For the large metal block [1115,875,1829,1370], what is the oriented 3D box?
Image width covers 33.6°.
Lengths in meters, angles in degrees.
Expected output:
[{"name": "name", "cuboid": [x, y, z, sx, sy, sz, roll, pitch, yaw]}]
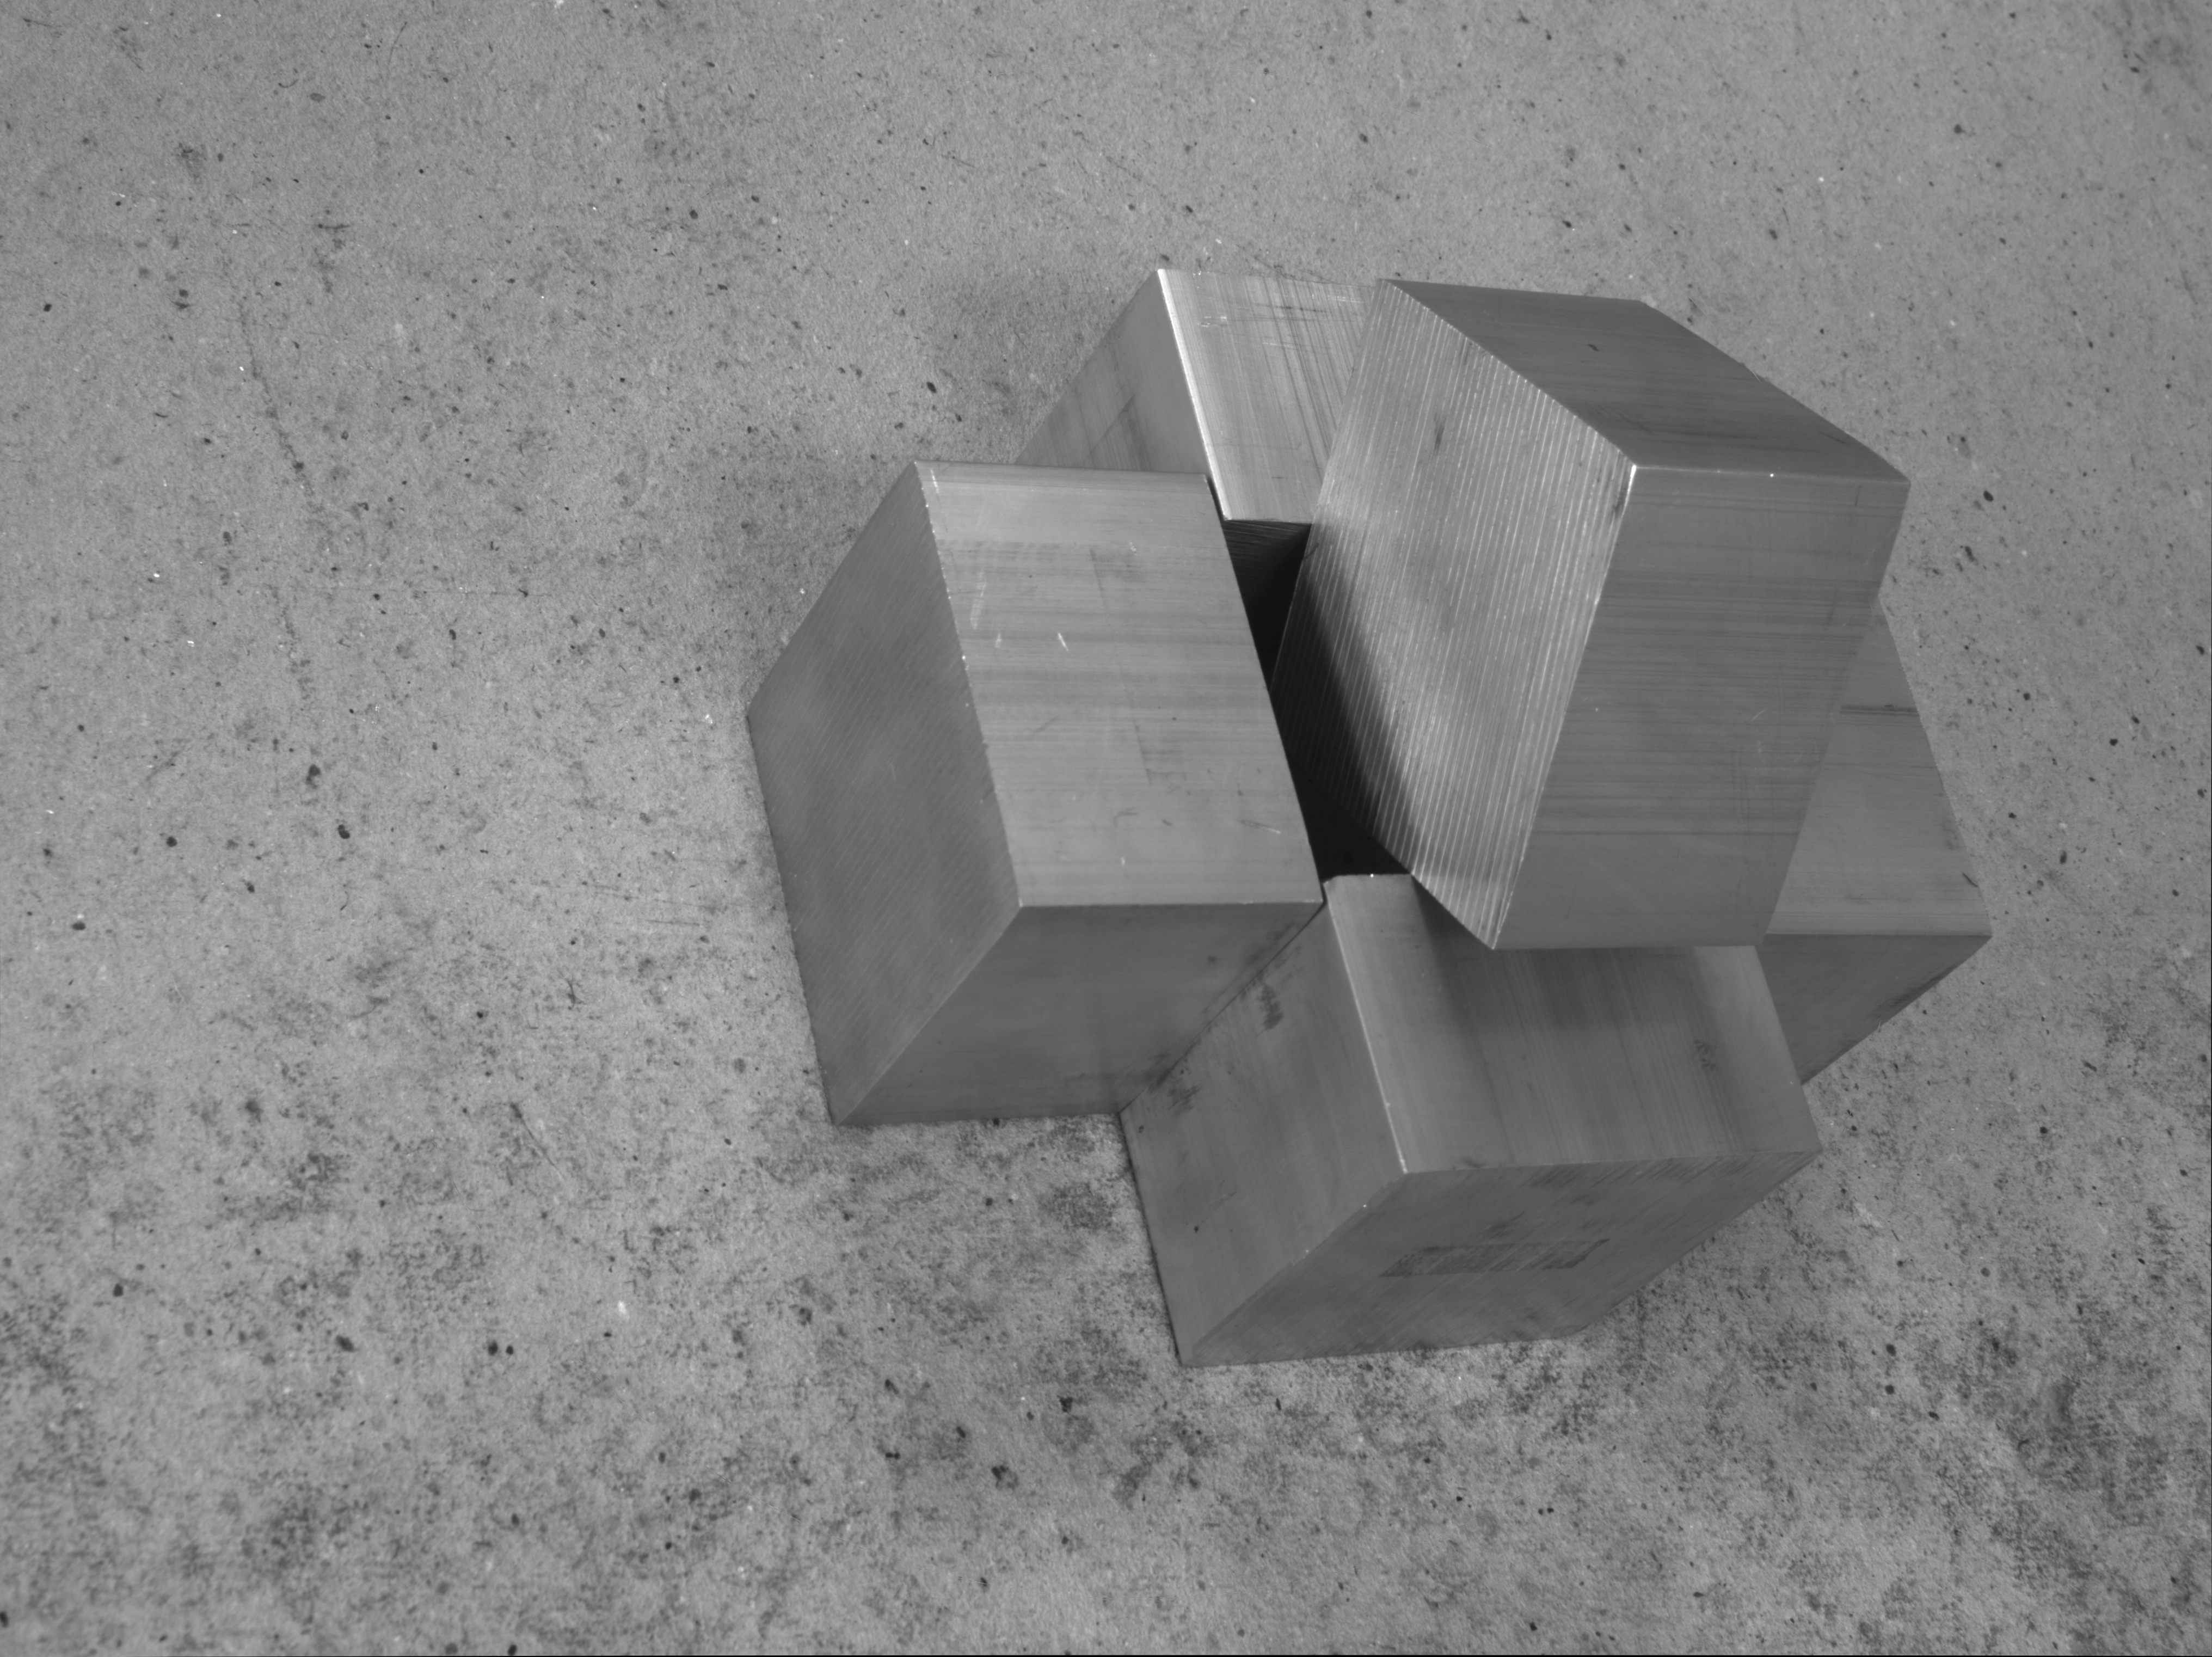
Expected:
[{"name": "large metal block", "cuboid": [0.058, 0.048, 0.605, 0.080, 0.080, 0.050, 0, 61, -28]}]

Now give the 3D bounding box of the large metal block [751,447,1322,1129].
[{"name": "large metal block", "cuboid": [-0.014, -0.005, 0.598, 0.050, 0.080, 0.080, 0, 61, -28]}]

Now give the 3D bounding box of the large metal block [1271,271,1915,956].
[{"name": "large metal block", "cuboid": [0.073, -0.034, 0.580, 0.050, 0.080, 0.080, 1, 27, -28]}]

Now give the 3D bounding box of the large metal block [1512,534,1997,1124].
[{"name": "large metal block", "cuboid": [0.104, 0.002, 0.658, 0.050, 0.080, 0.080, 1, 61, -28]}]

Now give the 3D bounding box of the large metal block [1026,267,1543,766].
[{"name": "large metal block", "cuboid": [0.032, -0.053, 0.654, 0.080, 0.080, 0.050, 1, 61, -28]}]
